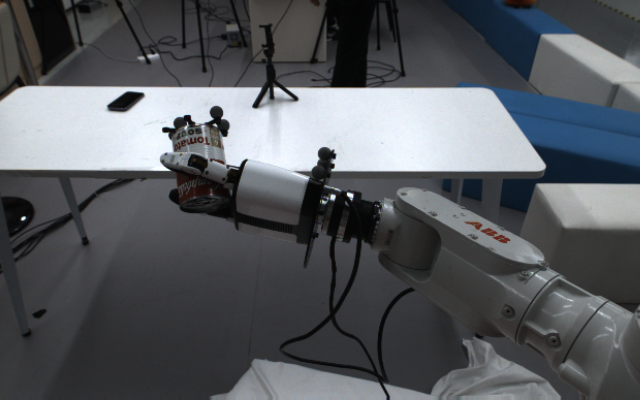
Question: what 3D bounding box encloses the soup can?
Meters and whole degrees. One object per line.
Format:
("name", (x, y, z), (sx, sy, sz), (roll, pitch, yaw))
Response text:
("soup can", (-0.156, -0.040, 0.638), (0.067, 0.067, 0.101), (-8, 73, -14))
